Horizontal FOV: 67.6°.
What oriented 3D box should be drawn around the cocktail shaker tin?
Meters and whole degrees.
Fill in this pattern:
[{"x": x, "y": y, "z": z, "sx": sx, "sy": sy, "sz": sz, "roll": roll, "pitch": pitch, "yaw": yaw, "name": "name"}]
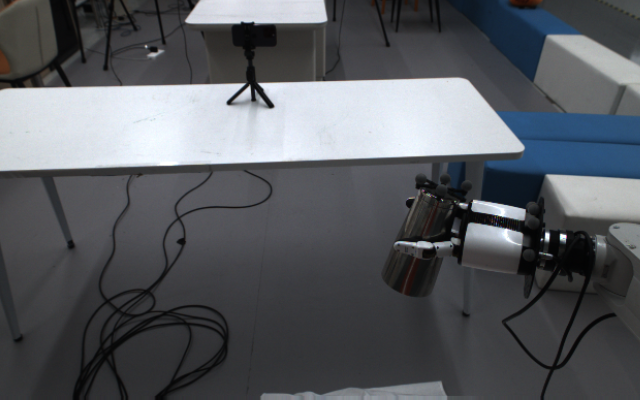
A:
[{"x": 0.171, "y": 0.061, "z": 0.798, "sx": 0.093, "sy": 0.170, "sz": 0.093, "roll": 12, "pitch": 24, "yaw": -5, "name": "cocktail shaker tin"}]
